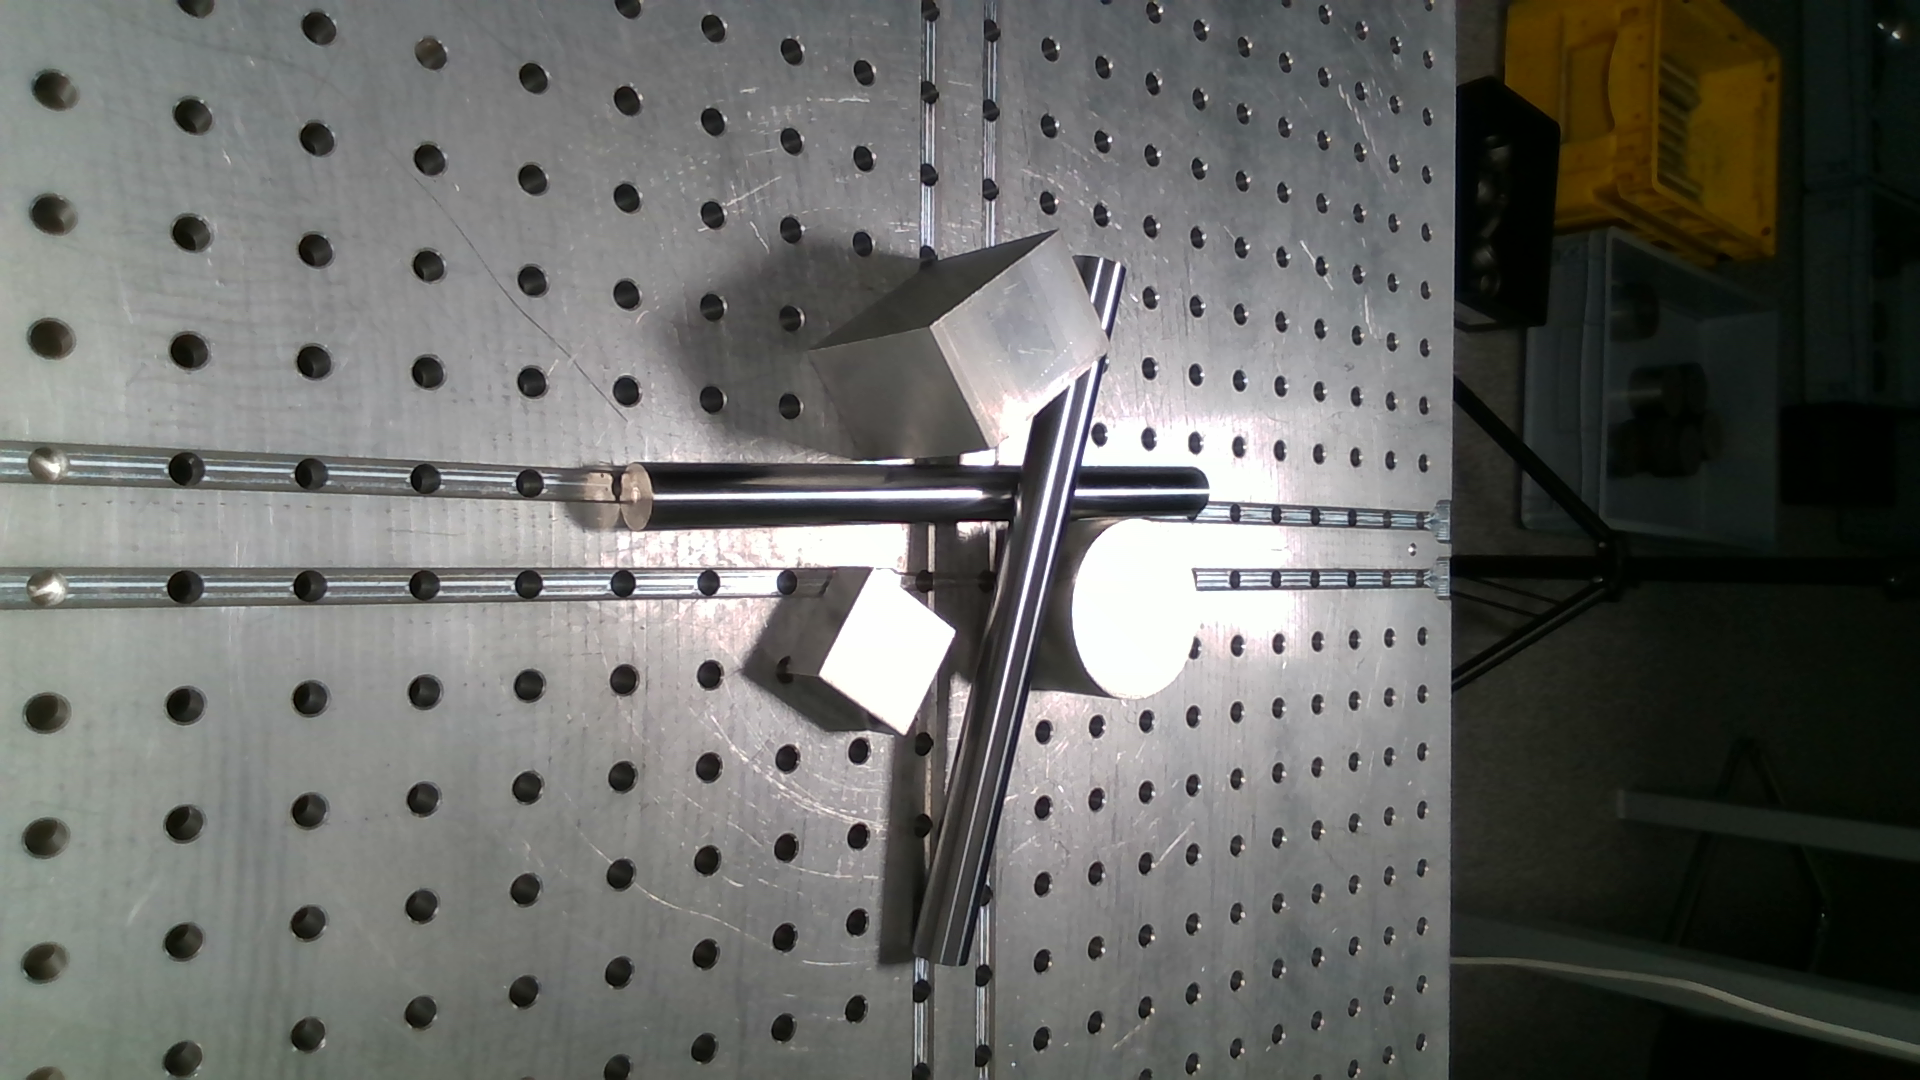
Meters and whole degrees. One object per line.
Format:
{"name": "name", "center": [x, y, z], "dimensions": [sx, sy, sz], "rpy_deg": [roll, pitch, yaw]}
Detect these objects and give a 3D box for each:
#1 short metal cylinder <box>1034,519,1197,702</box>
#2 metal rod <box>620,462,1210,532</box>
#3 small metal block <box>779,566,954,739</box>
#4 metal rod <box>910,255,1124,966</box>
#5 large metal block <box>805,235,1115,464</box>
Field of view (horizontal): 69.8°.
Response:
{"name": "short metal cylinder", "center": [0.061, 0.031, 0.622], "dimensions": [0.080, 0.050, 0.080], "rpy_deg": [0, 90, -40]}
{"name": "metal rod", "center": [0.000, -0.020, 0.586], "dimensions": [0.300, 0.025, 0.025], "rpy_deg": [-2, 91, -40]}
{"name": "small metal block", "center": [-0.037, 0.045, 0.556], "dimensions": [0.050, 0.025, 0.050], "rpy_deg": [40, 65, -33]}
{"name": "metal rod", "center": [0.025, 0.029, 0.582], "dimensions": [0.025, 0.025, 0.300], "rpy_deg": [14, 89, -39]}
{"name": "large metal block", "center": [0.000, -0.074, 0.549], "dimensions": [0.080, 0.080, 0.050], "rpy_deg": [-42, 116, -32]}
